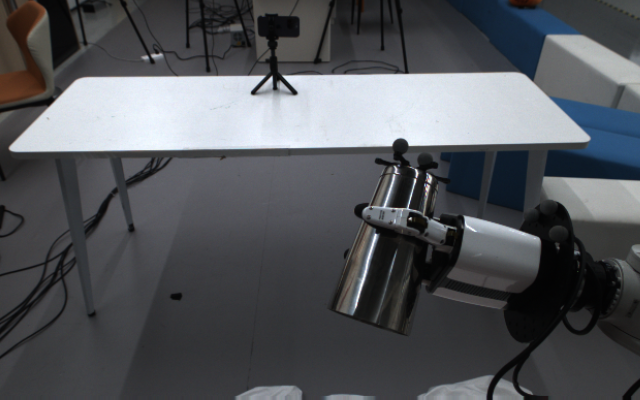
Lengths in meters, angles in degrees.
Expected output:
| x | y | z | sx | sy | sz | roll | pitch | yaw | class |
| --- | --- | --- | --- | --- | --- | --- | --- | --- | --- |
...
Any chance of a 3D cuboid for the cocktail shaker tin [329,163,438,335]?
| x | y | z | sx | sy | sz | roll | pitch | yaw | class |
| --- | --- | --- | --- | --- | --- | --- | --- | --- | --- |
| 0.079 | 0.052 | 0.533 | 0.093 | 0.093 | 0.170 | 14 | 75 | 17 | cocktail shaker tin |
